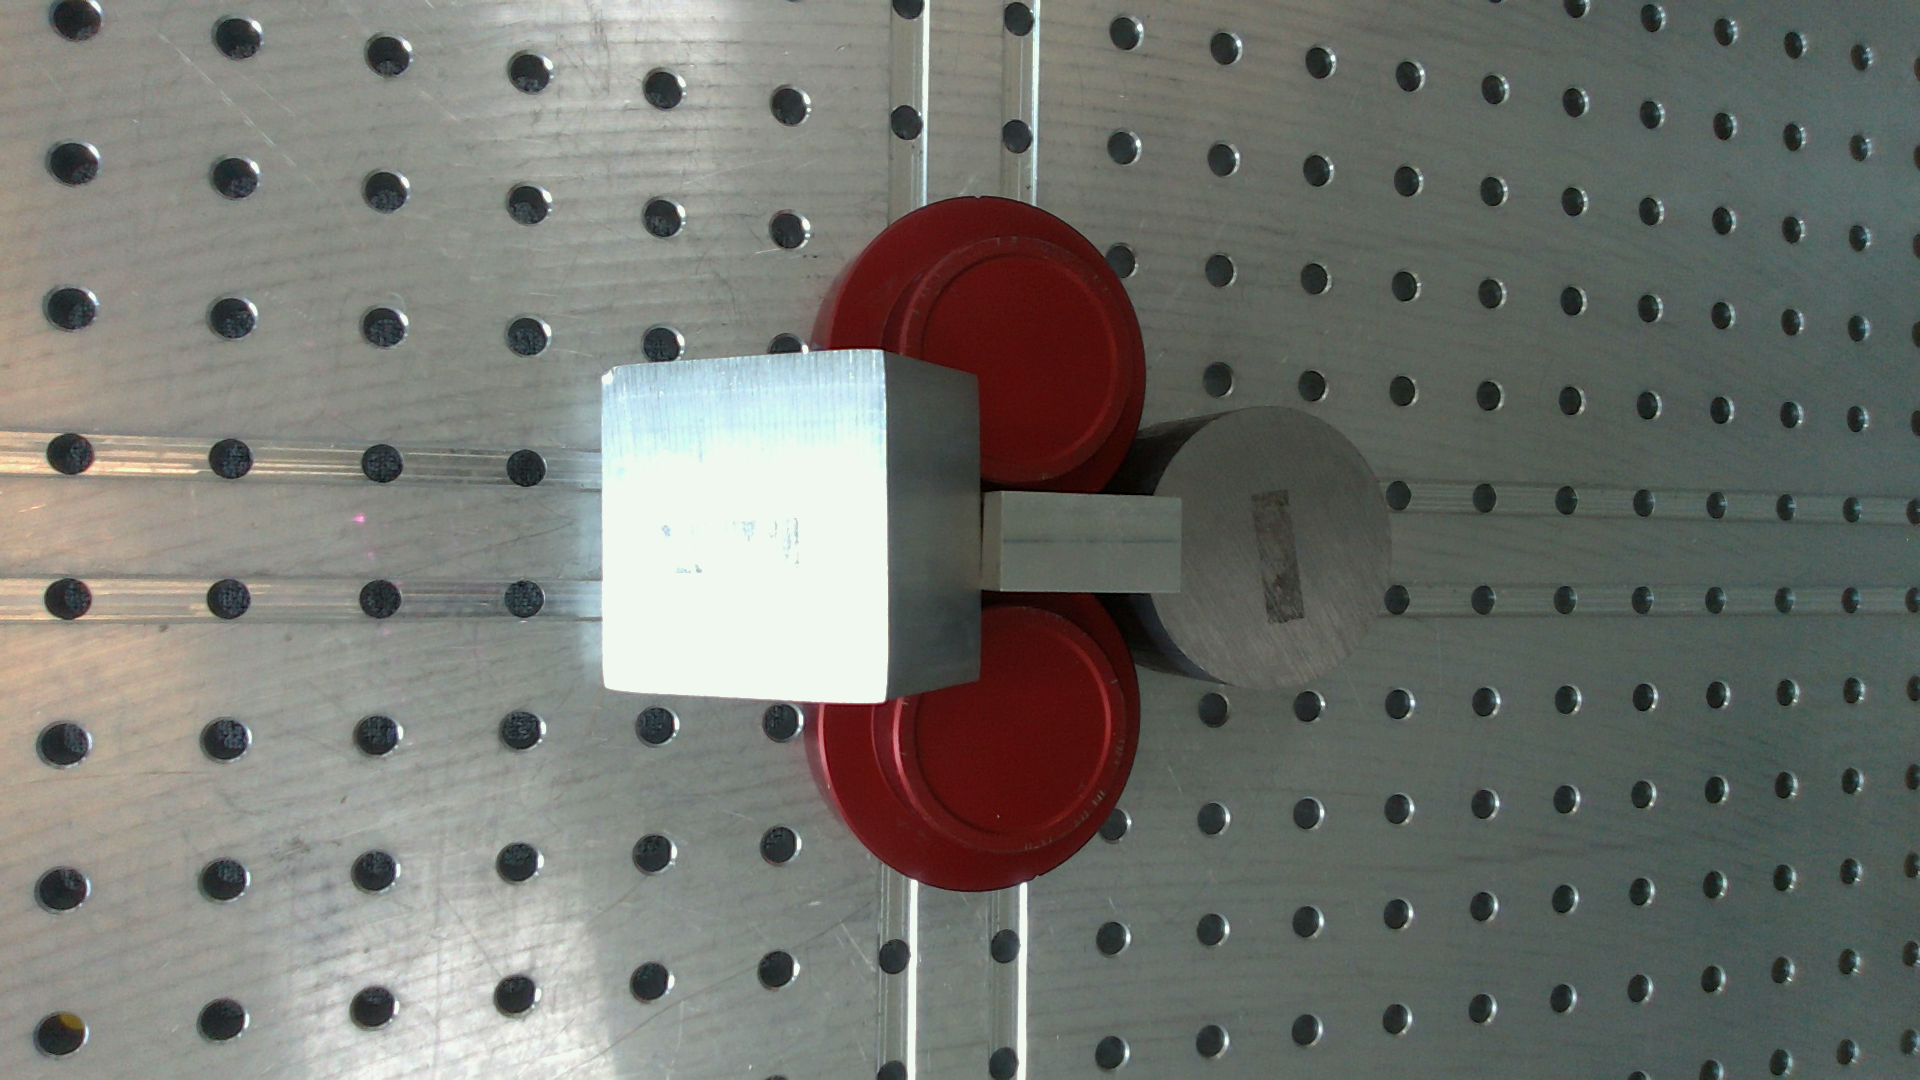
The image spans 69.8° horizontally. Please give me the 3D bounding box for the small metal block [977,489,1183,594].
[{"bbox_3d":[0.025,0.001,0.368,0.050,0.050,0.025,1,90,-20],"label":"small metal block"}]

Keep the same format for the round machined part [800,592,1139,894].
[{"bbox_3d":[0.007,0.051,0.390,0.098,0.042,0.098,0,90,-20],"label":"round machined part"}]

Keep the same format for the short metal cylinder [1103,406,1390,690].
[{"bbox_3d":[0.079,0.002,0.411,0.080,0.050,0.080,0,90,-20],"label":"short metal cylinder"}]

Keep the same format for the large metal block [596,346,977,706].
[{"bbox_3d":[-0.043,-0.003,0.345,0.050,0.080,0.080,-1,91,-64],"label":"large metal block"}]

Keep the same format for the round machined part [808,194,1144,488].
[{"bbox_3d":[0.009,-0.049,0.390,0.098,0.042,0.098,0,90,-20],"label":"round machined part"}]
